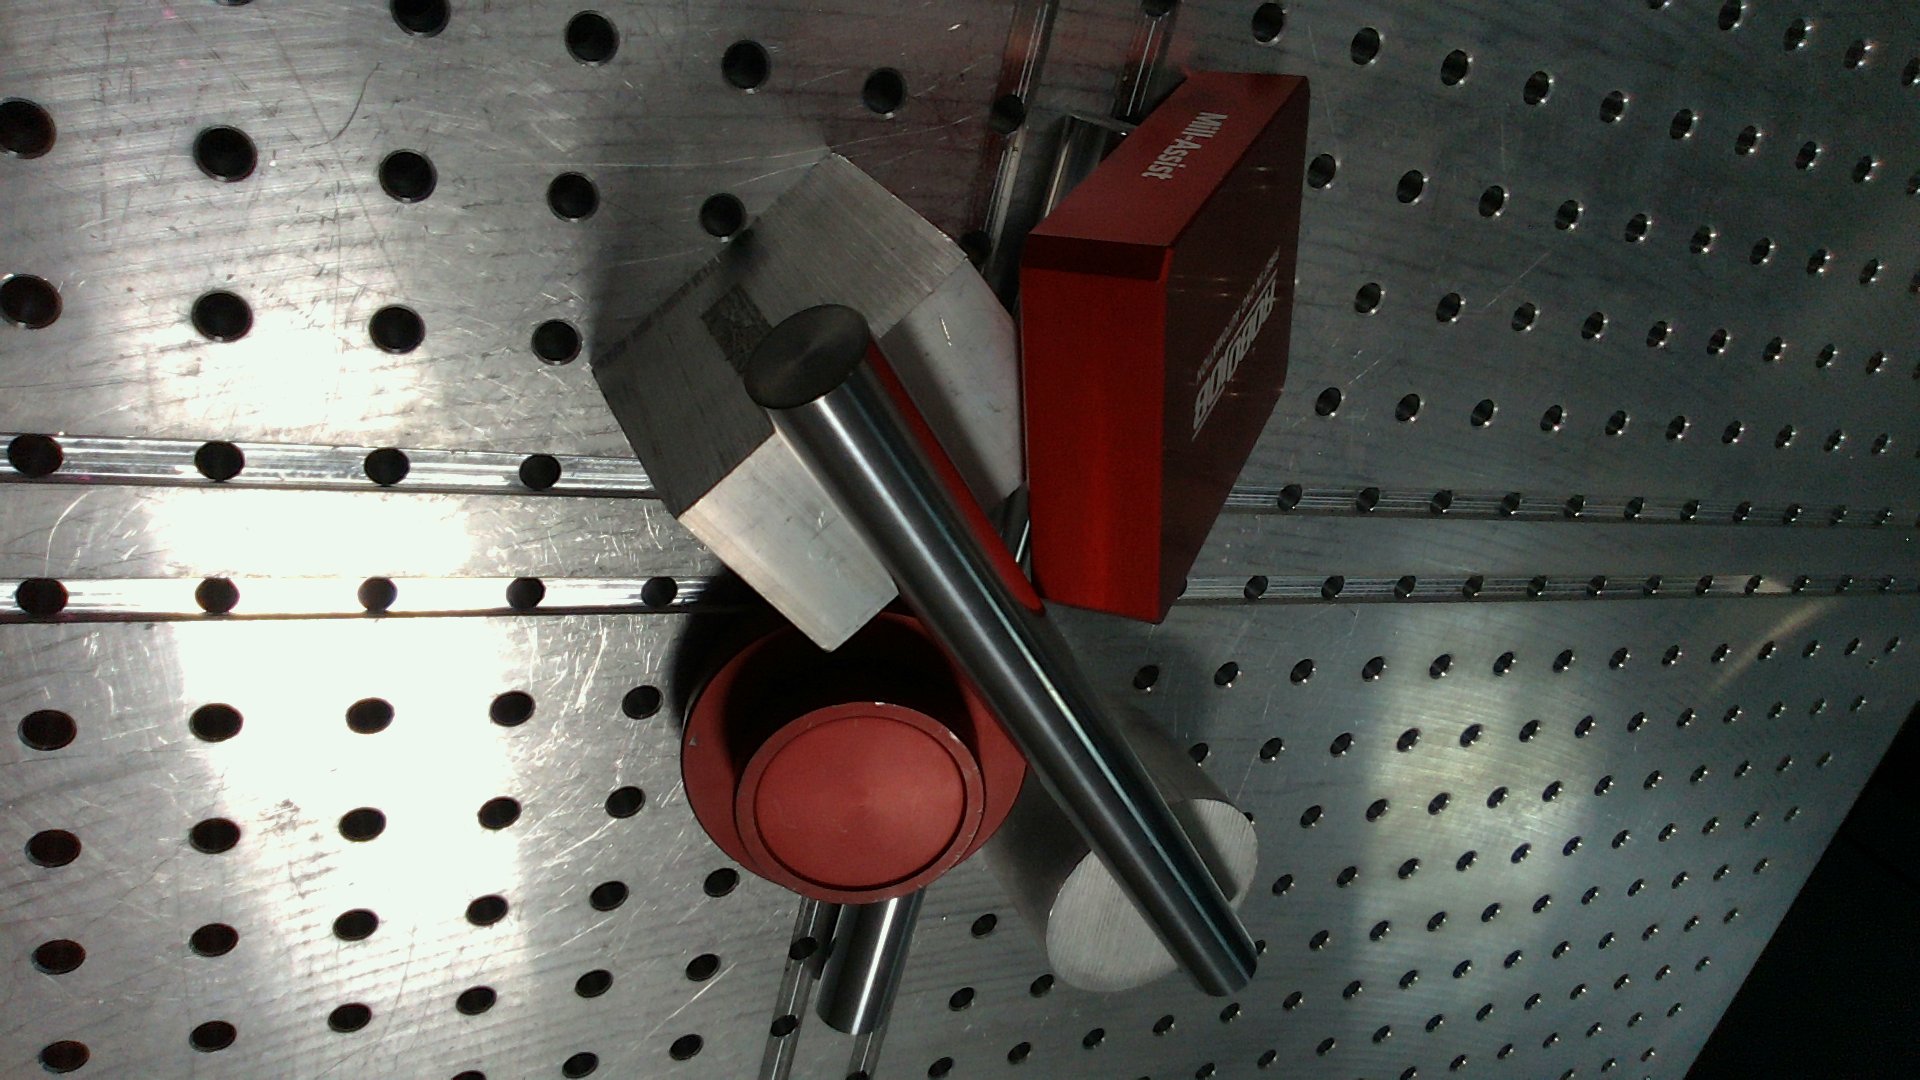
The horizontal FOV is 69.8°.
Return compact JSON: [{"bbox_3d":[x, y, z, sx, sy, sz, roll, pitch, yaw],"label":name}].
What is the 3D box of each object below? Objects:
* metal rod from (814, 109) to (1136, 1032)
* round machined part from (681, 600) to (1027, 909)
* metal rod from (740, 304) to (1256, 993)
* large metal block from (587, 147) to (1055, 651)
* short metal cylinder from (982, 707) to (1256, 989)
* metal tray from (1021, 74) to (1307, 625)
[{"bbox_3d":[0.001,0.026,0.409,0.025,0.025,0.300,2,117,-29],"label":"metal rod"},{"bbox_3d":[-0.028,0.063,0.385,0.098,0.042,0.098,-4,117,-7],"label":"round machined part"},{"bbox_3d":[0.030,0.054,0.350,0.025,0.025,0.301,-37,137,-3],"label":"metal rod"},{"bbox_3d":[-0.031,-0.035,0.319,0.080,0.080,0.050,-42,129,0],"label":"large metal block"},{"bbox_3d":[0.053,0.105,0.470,0.080,0.050,0.080,-14,124,-21],"label":"short metal cylinder"},{"bbox_3d":[0.054,-0.052,0.336,0.130,0.030,0.090,-52,146,-49],"label":"metal tray"}]
